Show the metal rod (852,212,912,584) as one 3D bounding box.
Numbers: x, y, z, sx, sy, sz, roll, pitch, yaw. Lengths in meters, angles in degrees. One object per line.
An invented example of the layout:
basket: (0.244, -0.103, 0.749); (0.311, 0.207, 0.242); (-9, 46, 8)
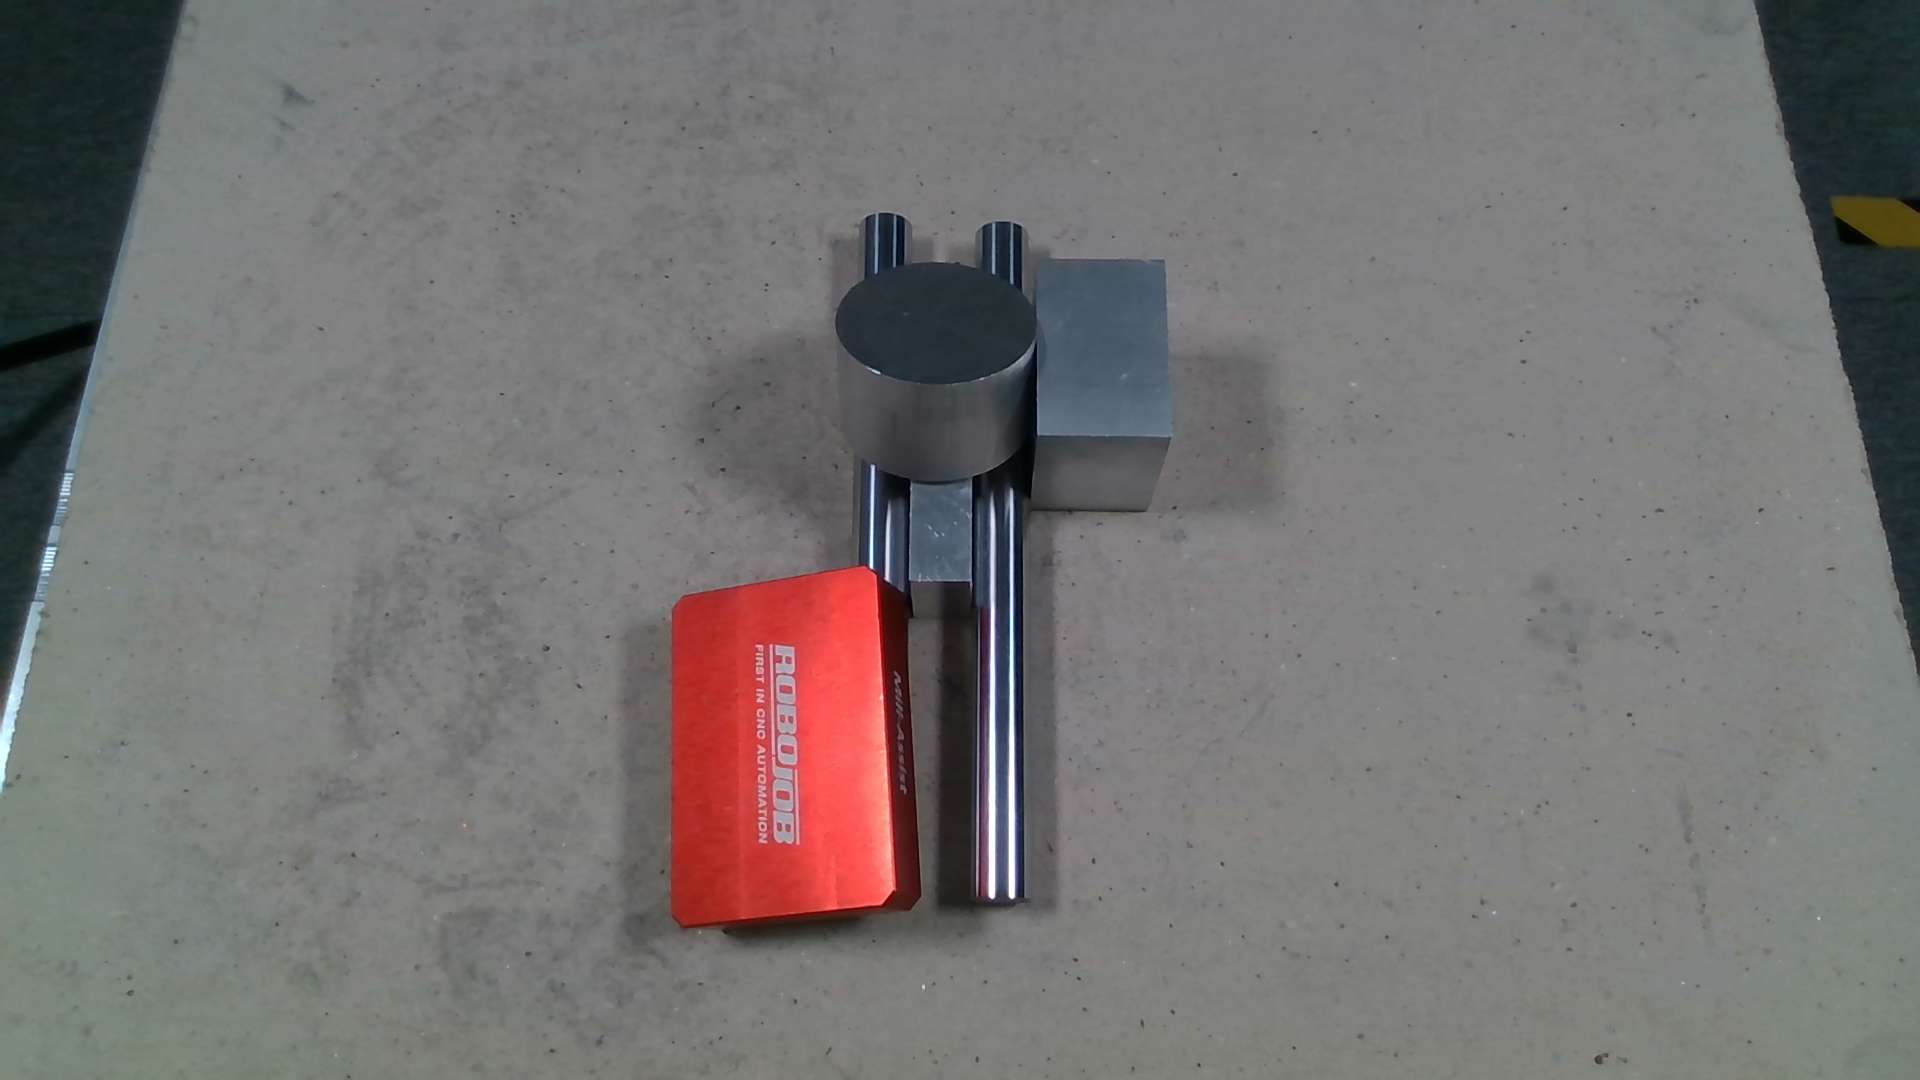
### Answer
metal rod: (-0.034, -0.005, 0.590); (0.025, 0.025, 0.299); (0, 70, 0)

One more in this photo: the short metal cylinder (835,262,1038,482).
short metal cylinder: (-0.010, -0.070, 0.562); (0.080, 0.050, 0.080); (1, 46, -1)

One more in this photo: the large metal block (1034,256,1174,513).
large metal block: (0.058, -0.064, 0.582); (0.050, 0.080, 0.080); (1, 70, 0)

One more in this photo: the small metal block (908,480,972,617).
small metal block: (-0.008, 0.001, 0.574); (0.025, 0.050, 0.050); (1, 70, 0)

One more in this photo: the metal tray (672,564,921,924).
metal tray: (-0.066, 0.081, 0.542); (0.090, 0.030, 0.130); (-9, 71, 15)

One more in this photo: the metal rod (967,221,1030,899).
metal rod: (0.017, 0.000, 0.589); (0.025, 0.025, 0.299); (1, 70, 0)
